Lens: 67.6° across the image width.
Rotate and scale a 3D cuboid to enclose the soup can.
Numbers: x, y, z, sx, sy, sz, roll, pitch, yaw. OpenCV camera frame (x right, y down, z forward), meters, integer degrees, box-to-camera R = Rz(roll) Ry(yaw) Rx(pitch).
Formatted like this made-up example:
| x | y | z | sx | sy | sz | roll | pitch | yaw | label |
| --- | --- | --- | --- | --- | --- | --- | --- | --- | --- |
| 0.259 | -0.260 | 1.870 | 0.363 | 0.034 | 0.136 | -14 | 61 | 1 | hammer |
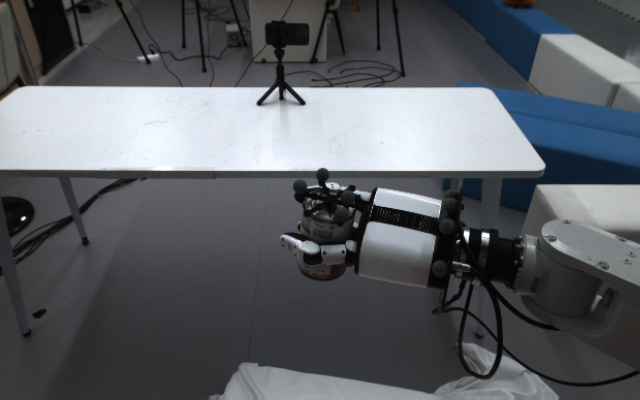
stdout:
| x | y | z | sx | sy | sz | roll | pitch | yaw | label |
| --- | --- | --- | --- | --- | --- | --- | --- | --- | --- |
| 0.009 | 0.045 | 0.622 | 0.067 | 0.101 | 0.067 | 5 | 36 | -4 | soup can |
